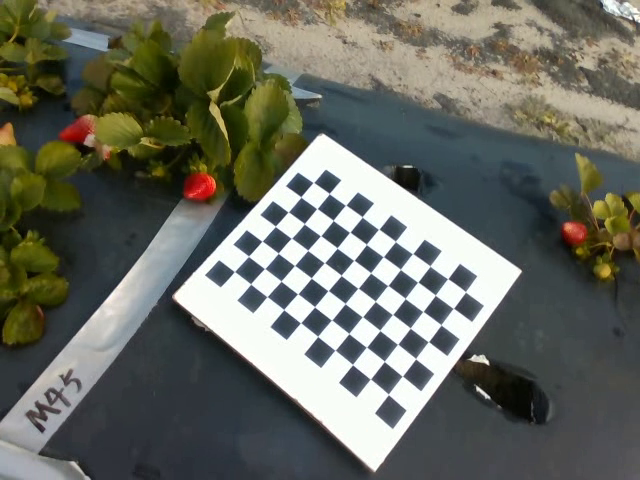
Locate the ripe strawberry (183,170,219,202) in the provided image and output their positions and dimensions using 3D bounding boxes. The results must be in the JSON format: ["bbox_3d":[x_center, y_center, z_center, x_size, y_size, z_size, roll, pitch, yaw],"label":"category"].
[{"bbox_3d":[-0.136,-0.058,0.679,0.050,0.055,0.036,33,-39,4],"label":"ripe strawberry"}]
